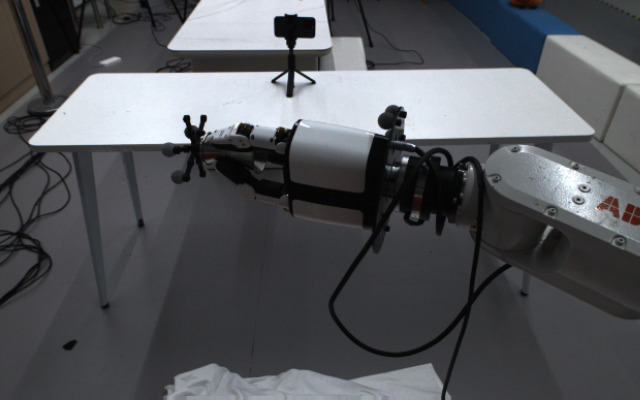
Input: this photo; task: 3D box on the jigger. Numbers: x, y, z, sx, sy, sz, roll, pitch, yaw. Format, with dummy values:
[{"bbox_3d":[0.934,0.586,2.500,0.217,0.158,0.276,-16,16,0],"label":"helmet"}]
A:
[{"bbox_3d":[-0.095,-0.061,0.568,0.071,0.043,0.043,8,35,14],"label":"jigger"}]
